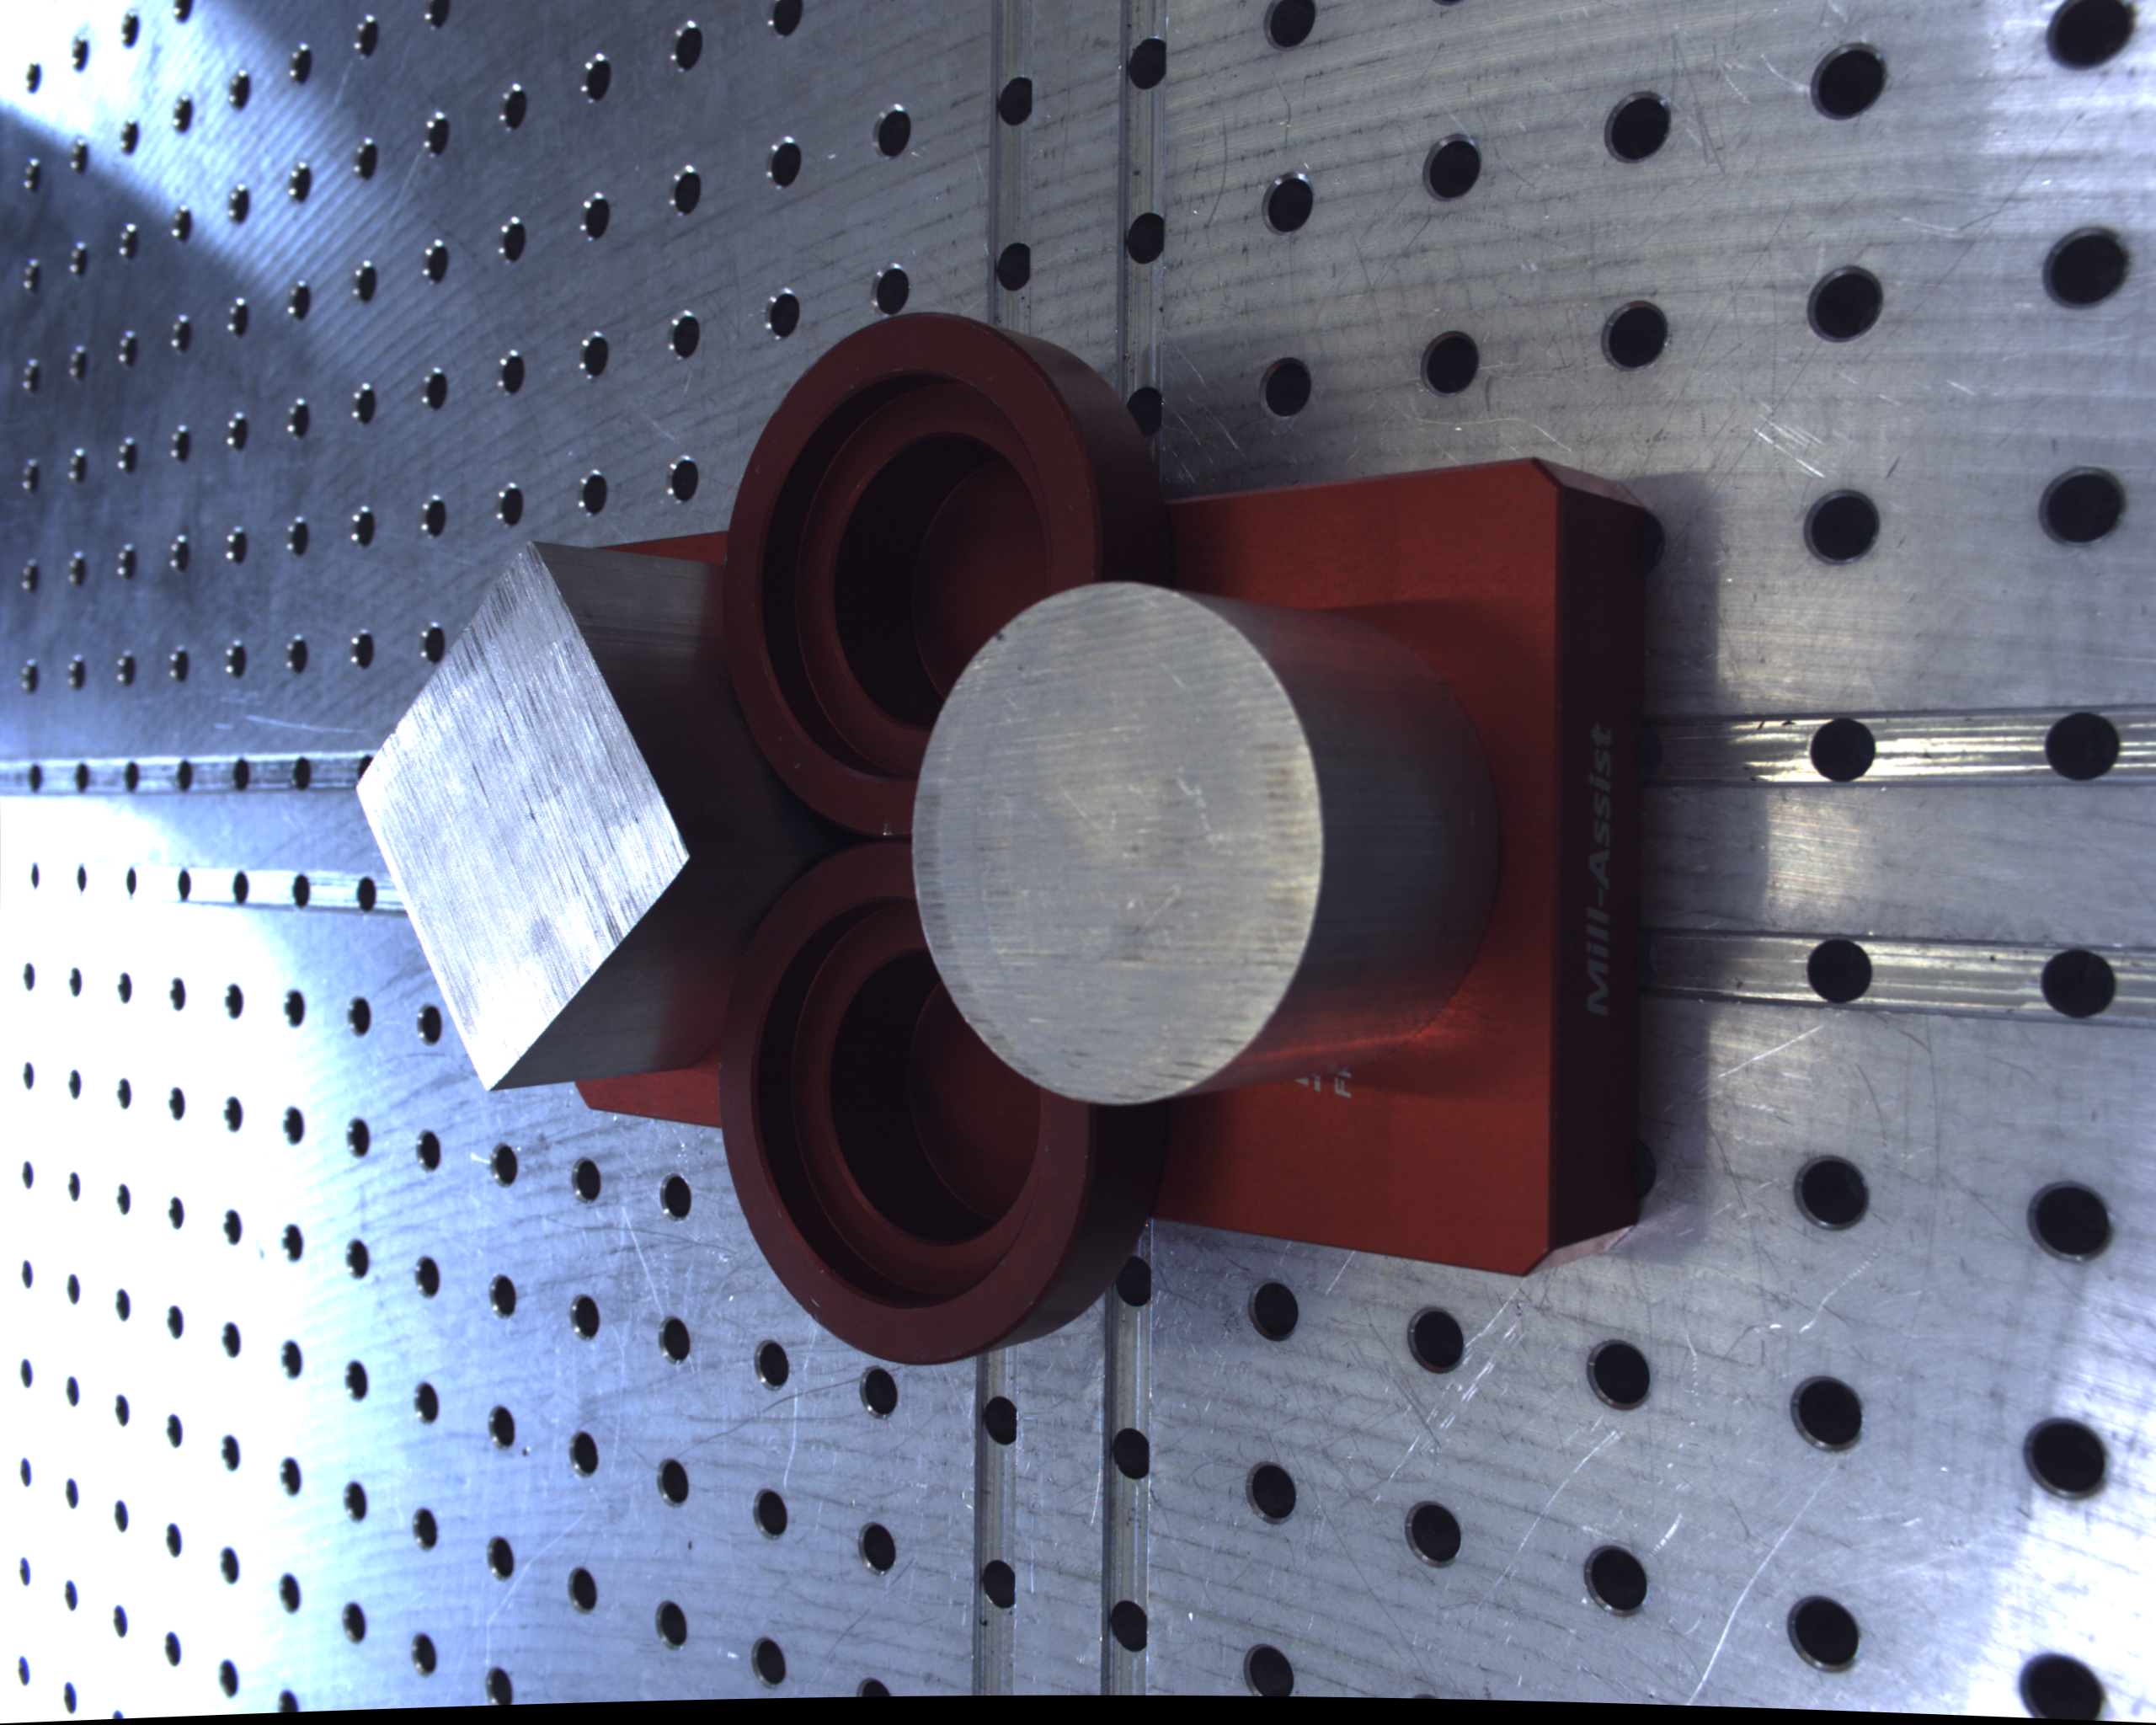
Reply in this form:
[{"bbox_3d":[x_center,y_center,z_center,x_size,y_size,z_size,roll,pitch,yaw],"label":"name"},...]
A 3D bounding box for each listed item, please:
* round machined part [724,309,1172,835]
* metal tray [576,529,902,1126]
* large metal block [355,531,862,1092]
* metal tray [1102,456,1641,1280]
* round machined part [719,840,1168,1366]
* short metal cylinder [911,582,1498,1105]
[{"bbox_3d":[-0.020,-0.054,0.403,0.098,0.042,0.097,0,90,40],"label":"round machined part"},{"bbox_3d":[-0.072,-0.008,0.465,0.090,0.030,0.129,1,91,38],"label":"metal tray"},{"bbox_3d":[-0.097,-0.010,0.434,0.080,0.050,0.080,-44,64,31],"label":"large metal block"},{"bbox_3d":[0.049,0.000,0.363,0.090,0.030,0.129,1,91,40],"label":"metal tray"},{"bbox_3d":[-0.021,0.044,0.404,0.098,0.042,0.097,0,90,40],"label":"round machined part"},{"bbox_3d":[0.020,-0.003,0.337,0.080,0.050,0.079,0,90,40],"label":"short metal cylinder"}]
